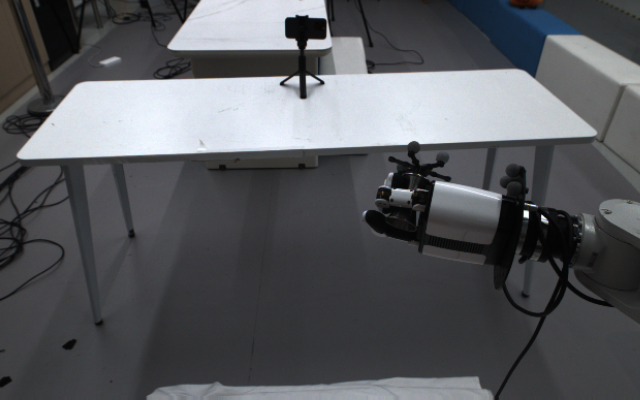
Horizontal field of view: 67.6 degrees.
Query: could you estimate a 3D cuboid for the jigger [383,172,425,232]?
[{"bbox_3d":[0.118,0.000,0.646,0.043,0.043,0.071,16,70,19],"label":"jigger"}]
